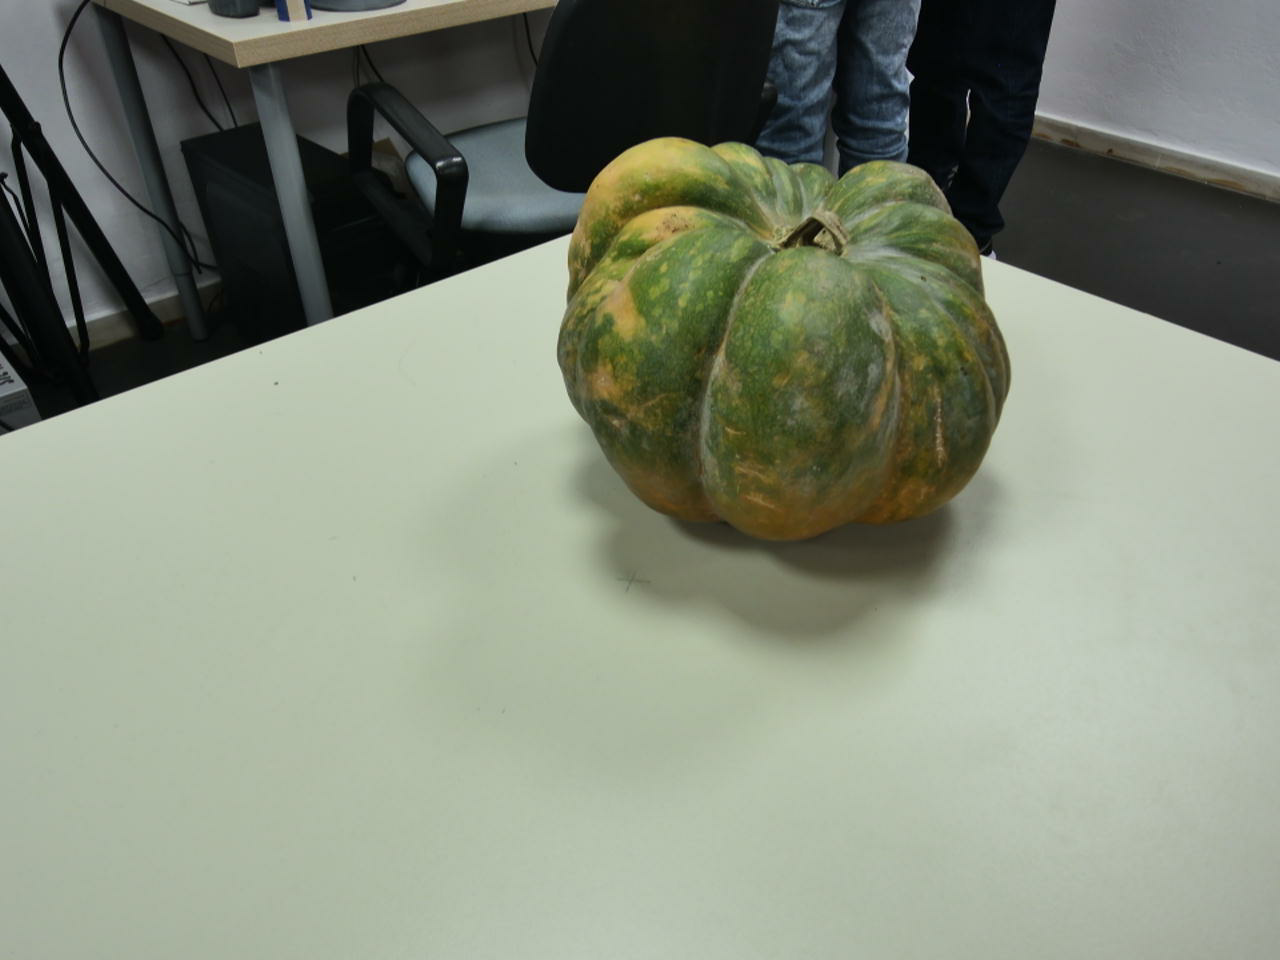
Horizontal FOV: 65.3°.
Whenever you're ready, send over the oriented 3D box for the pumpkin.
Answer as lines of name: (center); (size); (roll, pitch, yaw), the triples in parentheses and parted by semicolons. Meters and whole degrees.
pumpkin: (0.076, -0.081, 0.536); (0.237, 0.173, 0.270); (-2, 36, -2)
